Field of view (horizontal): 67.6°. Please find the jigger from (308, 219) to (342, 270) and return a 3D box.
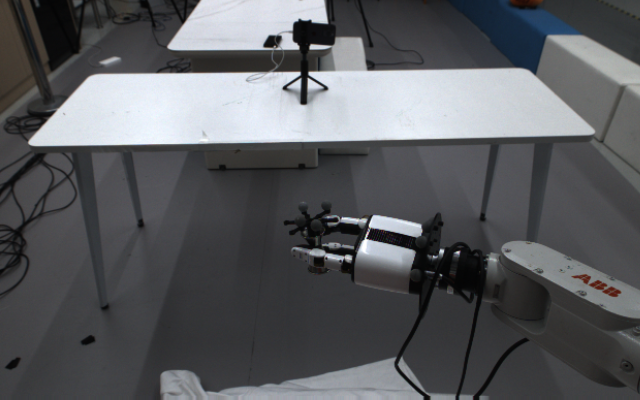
[{"bbox_3d":[-0.003,0.076,0.778,0.043,0.071,0.043,-10,24,5],"label":"jigger"}]
